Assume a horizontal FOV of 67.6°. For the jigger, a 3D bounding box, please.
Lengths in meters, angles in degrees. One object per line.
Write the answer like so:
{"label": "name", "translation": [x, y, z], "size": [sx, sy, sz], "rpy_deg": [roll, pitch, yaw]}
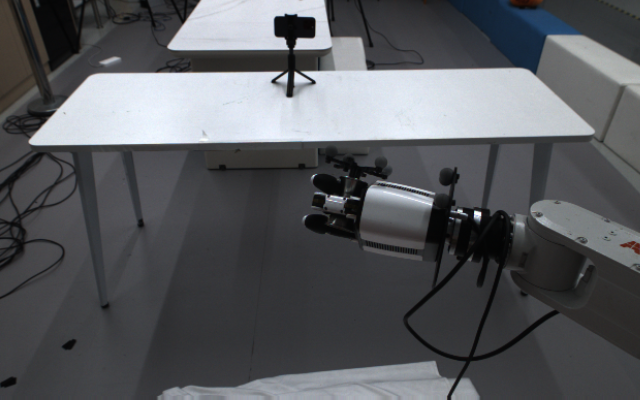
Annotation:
{"label": "jigger", "translation": [0.038, 0.006, 0.648], "size": [0.043, 0.071, 0.043], "rpy_deg": [16, -7, 2]}
